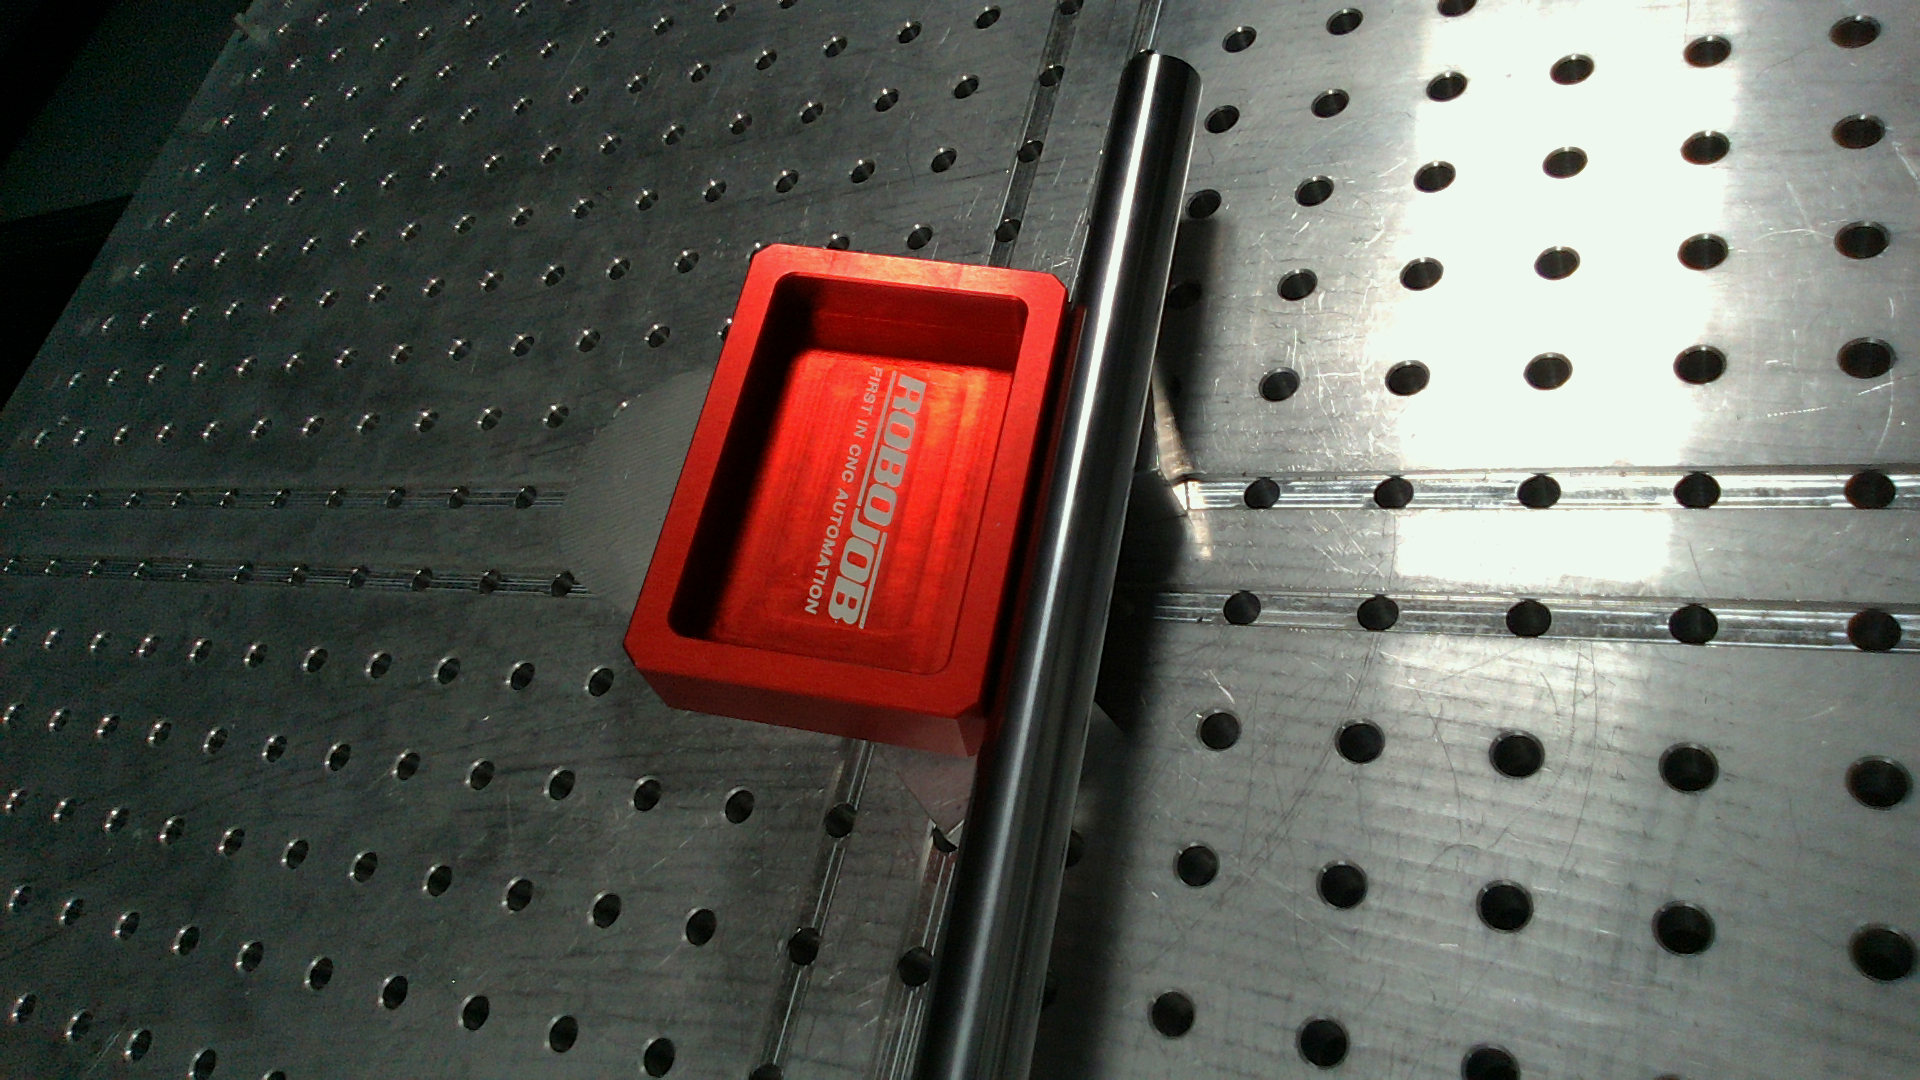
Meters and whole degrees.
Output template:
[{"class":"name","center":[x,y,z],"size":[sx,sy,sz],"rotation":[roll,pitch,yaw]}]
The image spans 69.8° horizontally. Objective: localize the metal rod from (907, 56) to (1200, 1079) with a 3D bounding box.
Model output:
[{"class":"metal rod","center":[0.029,-0.005,0.351],"size":[0.025,0.025,0.300],"rotation":[-1,61,28]}]

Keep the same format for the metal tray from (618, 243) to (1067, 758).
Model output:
[{"class":"metal tray","center":[-0.026,-0.015,0.365],"size":[0.090,0.030,0.130],"rotation":[8,64,10]}]

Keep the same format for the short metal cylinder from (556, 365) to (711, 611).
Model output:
[{"class":"short metal cylinder","center":[-0.076,-0.007,0.425],"size":[0.080,0.050,0.080],"rotation":[-14,56,21]}]

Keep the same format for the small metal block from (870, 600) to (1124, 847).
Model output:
[{"class":"small metal block","center":[0.006,0.049,0.363],"size":[0.050,0.025,0.050],"rotation":[-43,51,-2]}]

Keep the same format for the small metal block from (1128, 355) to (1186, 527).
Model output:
[{"class":"small metal block","center":[0.035,-0.029,0.396],"size":[0.050,0.025,0.050],"rotation":[-14,56,21]}]
